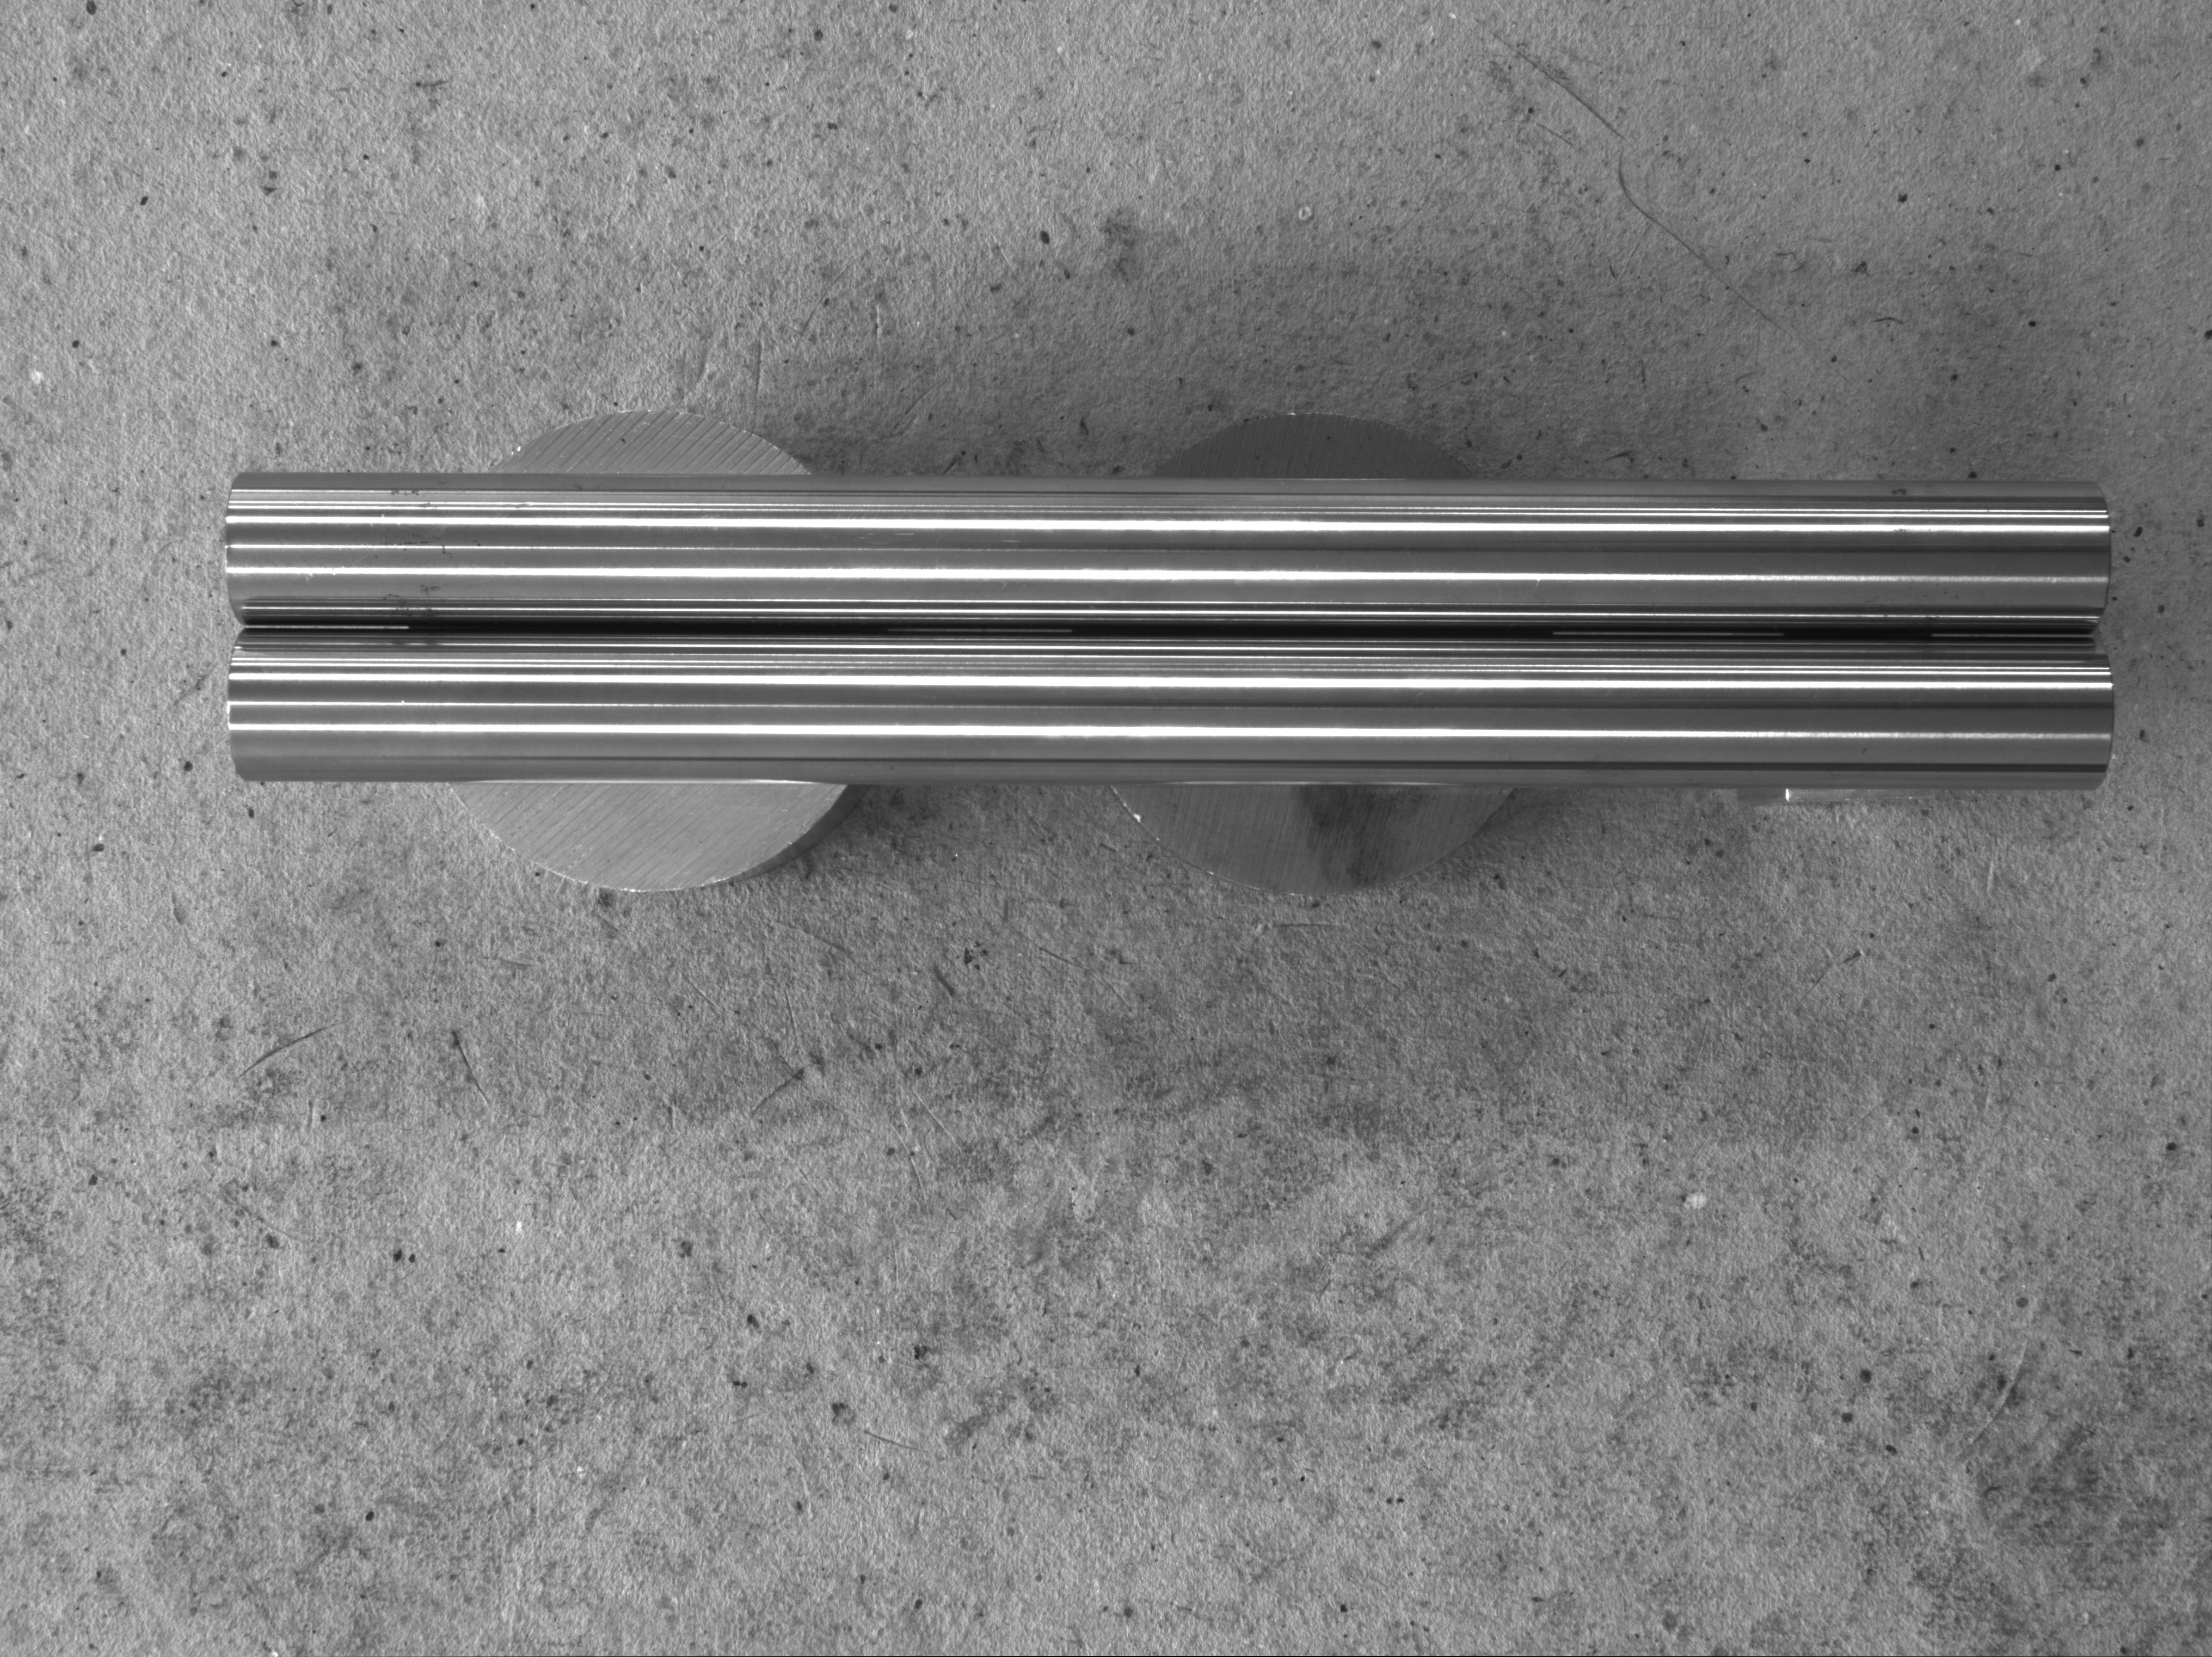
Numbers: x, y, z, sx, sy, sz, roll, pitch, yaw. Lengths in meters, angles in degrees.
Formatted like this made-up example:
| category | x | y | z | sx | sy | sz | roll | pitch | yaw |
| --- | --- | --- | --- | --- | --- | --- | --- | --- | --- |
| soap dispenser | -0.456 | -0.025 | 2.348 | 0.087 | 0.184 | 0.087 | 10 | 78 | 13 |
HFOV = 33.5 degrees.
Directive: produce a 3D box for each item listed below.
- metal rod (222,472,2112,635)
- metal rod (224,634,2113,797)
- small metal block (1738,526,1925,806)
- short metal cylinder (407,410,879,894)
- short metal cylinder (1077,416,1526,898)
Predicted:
| category | x | y | z | sx | sy | sz | roll | pitch | yaw |
| --- | --- | --- | --- | --- | --- | --- | --- | --- | --- |
| metal rod | 0.010 | -0.045 | 0.595 | 0.300 | 0.025 | 0.025 | 0 | 90 | 0 |
| metal rod | 0.010 | -0.018 | 0.595 | 0.300 | 0.025 | 0.025 | 0 | 90 | 0 |
| small metal block | 0.125 | -0.029 | 0.635 | 0.025 | 0.050 | 0.050 | -2 | 89 | 0 |
| short metal cylinder | -0.076 | -0.029 | 0.633 | 0.080 | 0.050 | 0.080 | 0 | 90 | 0 |
| short metal cylinder | 0.034 | -0.028 | 0.634 | 0.080 | 0.050 | 0.080 | 0 | 90 | 0 |
